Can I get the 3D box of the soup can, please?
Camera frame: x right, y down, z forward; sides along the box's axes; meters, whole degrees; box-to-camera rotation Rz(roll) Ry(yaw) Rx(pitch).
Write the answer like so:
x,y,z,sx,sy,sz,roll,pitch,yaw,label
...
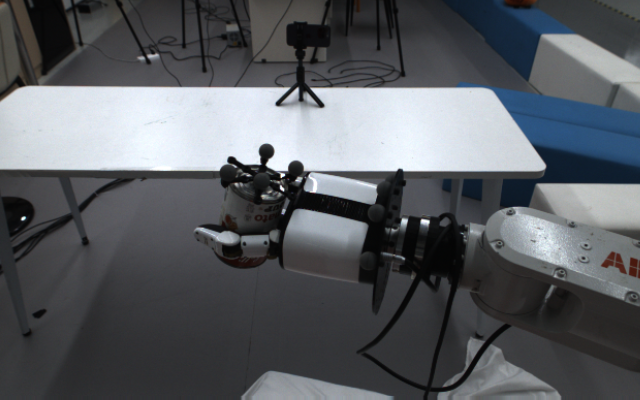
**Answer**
x,y,z,sx,sy,sz,roll,pitch,yaw,label
-0.078,0.020,0.549,0.067,0.101,0.067,14,35,-10,soup can
